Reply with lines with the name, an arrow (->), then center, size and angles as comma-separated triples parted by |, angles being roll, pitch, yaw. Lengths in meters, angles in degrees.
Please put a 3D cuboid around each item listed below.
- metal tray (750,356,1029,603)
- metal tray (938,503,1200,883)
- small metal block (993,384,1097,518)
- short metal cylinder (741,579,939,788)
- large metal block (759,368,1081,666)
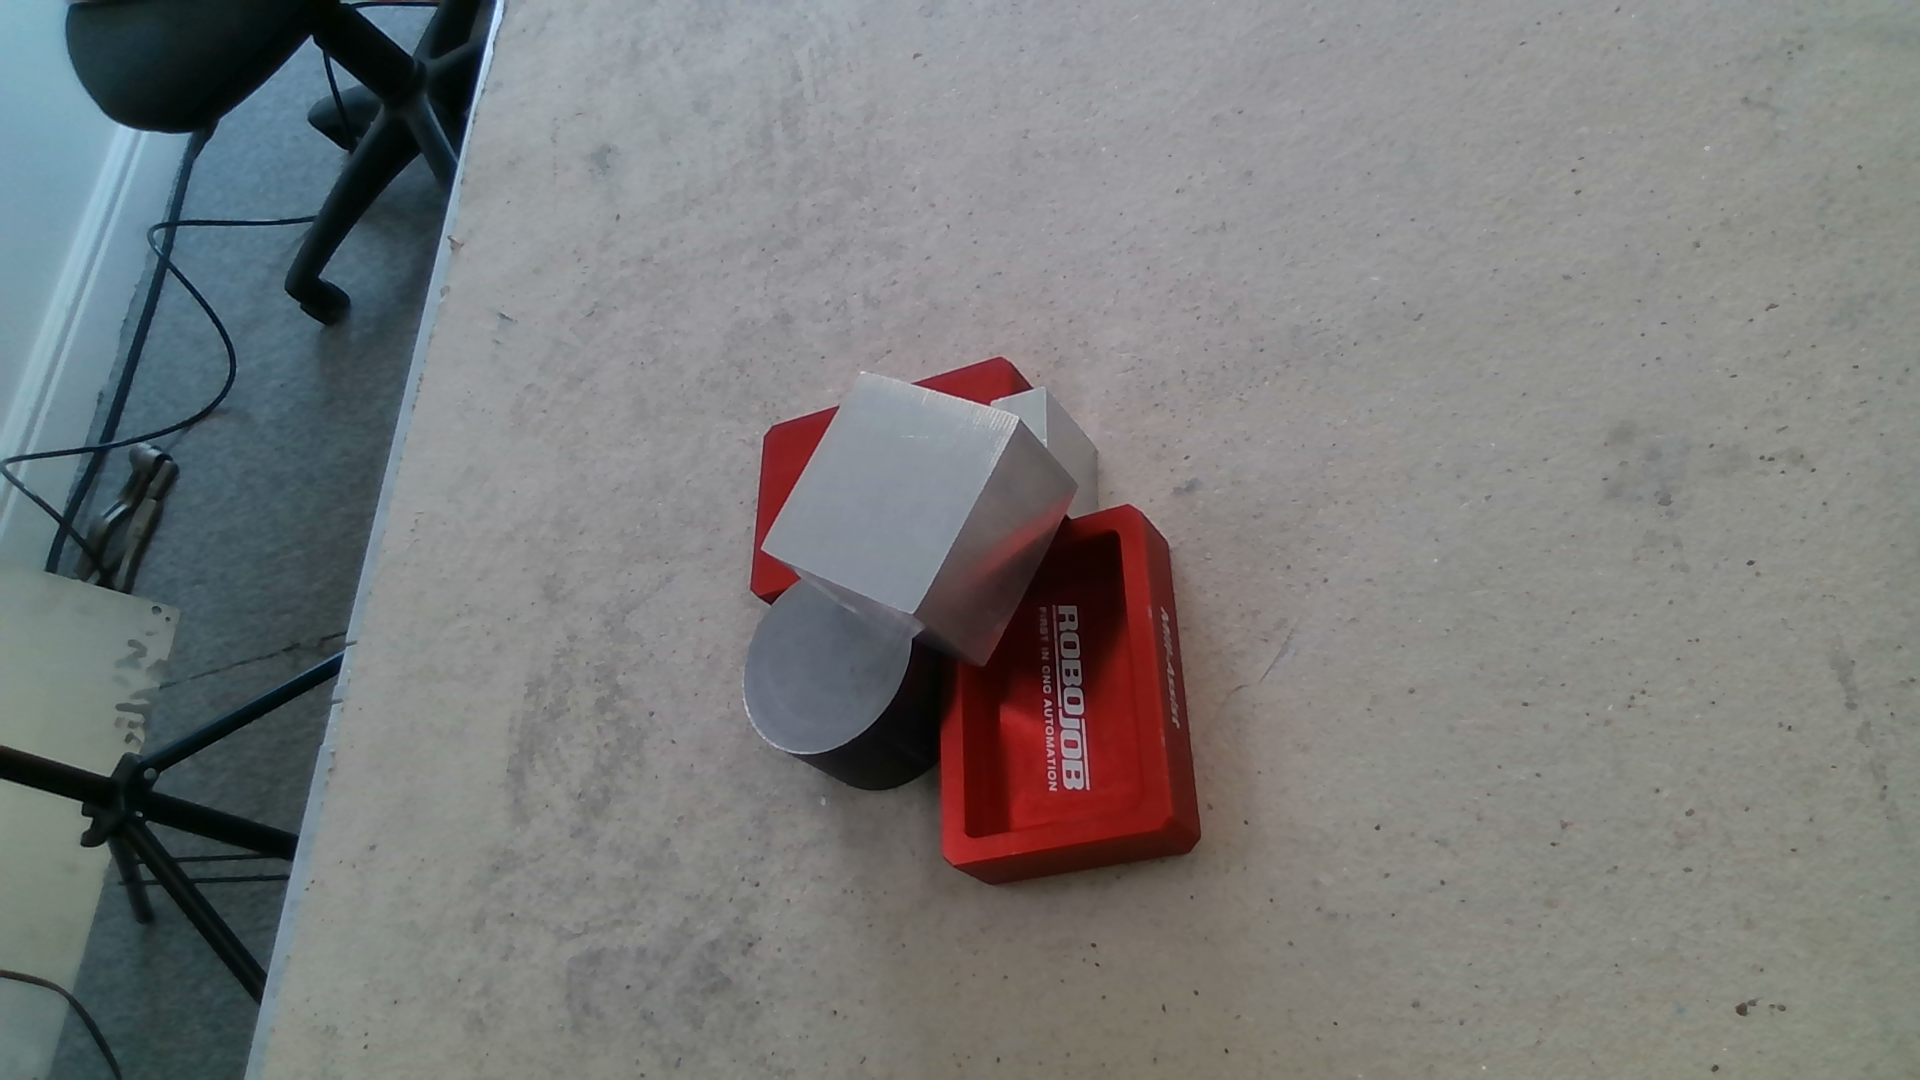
metal tray -> -0.029, -0.021, 0.613 | 0.130, 0.030, 0.090 | -14, 59, 25
metal tray -> 0.038, 0.058, 0.528 | 0.090, 0.030, 0.130 | -16, 58, 24
small metal block -> 0.034, -0.027, 0.563 | 0.025, 0.050, 0.050 | -14, 59, 25
short metal cylinder -> -0.042, 0.056, 0.566 | 0.080, 0.050, 0.080 | -15, 58, 25
large metal block -> -0.015, -0.010, 0.518 | 0.080, 0.050, 0.080 | 21, 78, 38
